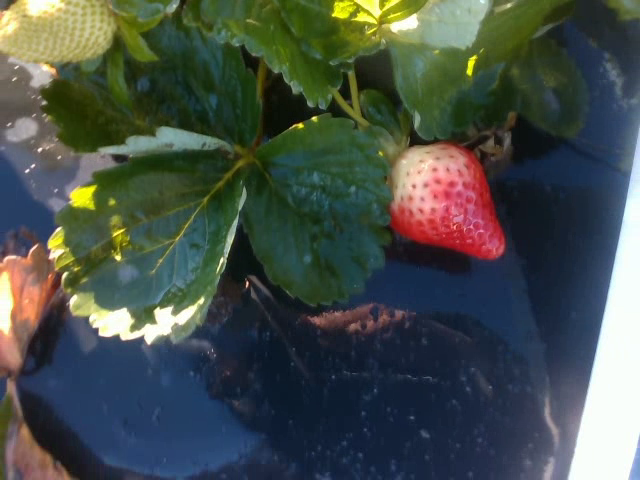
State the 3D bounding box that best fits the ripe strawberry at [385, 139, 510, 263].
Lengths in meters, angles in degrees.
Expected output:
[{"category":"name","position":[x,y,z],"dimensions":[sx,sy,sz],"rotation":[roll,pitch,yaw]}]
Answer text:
[{"category":"ripe strawberry","position":[0.053,-0.009,0.247],"dimensions":[0.040,0.065,0.040],"rotation":[-44,9,3]}]
